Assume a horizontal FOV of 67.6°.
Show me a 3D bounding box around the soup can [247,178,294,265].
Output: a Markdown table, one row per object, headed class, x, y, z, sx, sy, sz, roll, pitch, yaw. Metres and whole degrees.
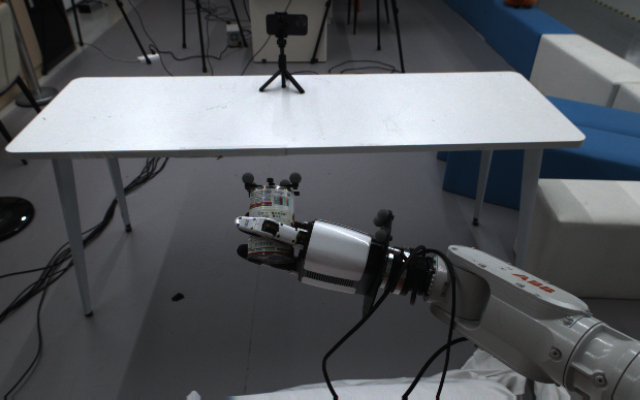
| class | x | y | z | sx | sy | sz | roll | pitch | yaw |
| --- | --- | --- | --- | --- | --- | --- | --- | --- | --- |
| soup can | -0.070 | 0.037 | 0.697 | 0.067 | 0.067 | 0.101 | 1 | 73 | -2 |
